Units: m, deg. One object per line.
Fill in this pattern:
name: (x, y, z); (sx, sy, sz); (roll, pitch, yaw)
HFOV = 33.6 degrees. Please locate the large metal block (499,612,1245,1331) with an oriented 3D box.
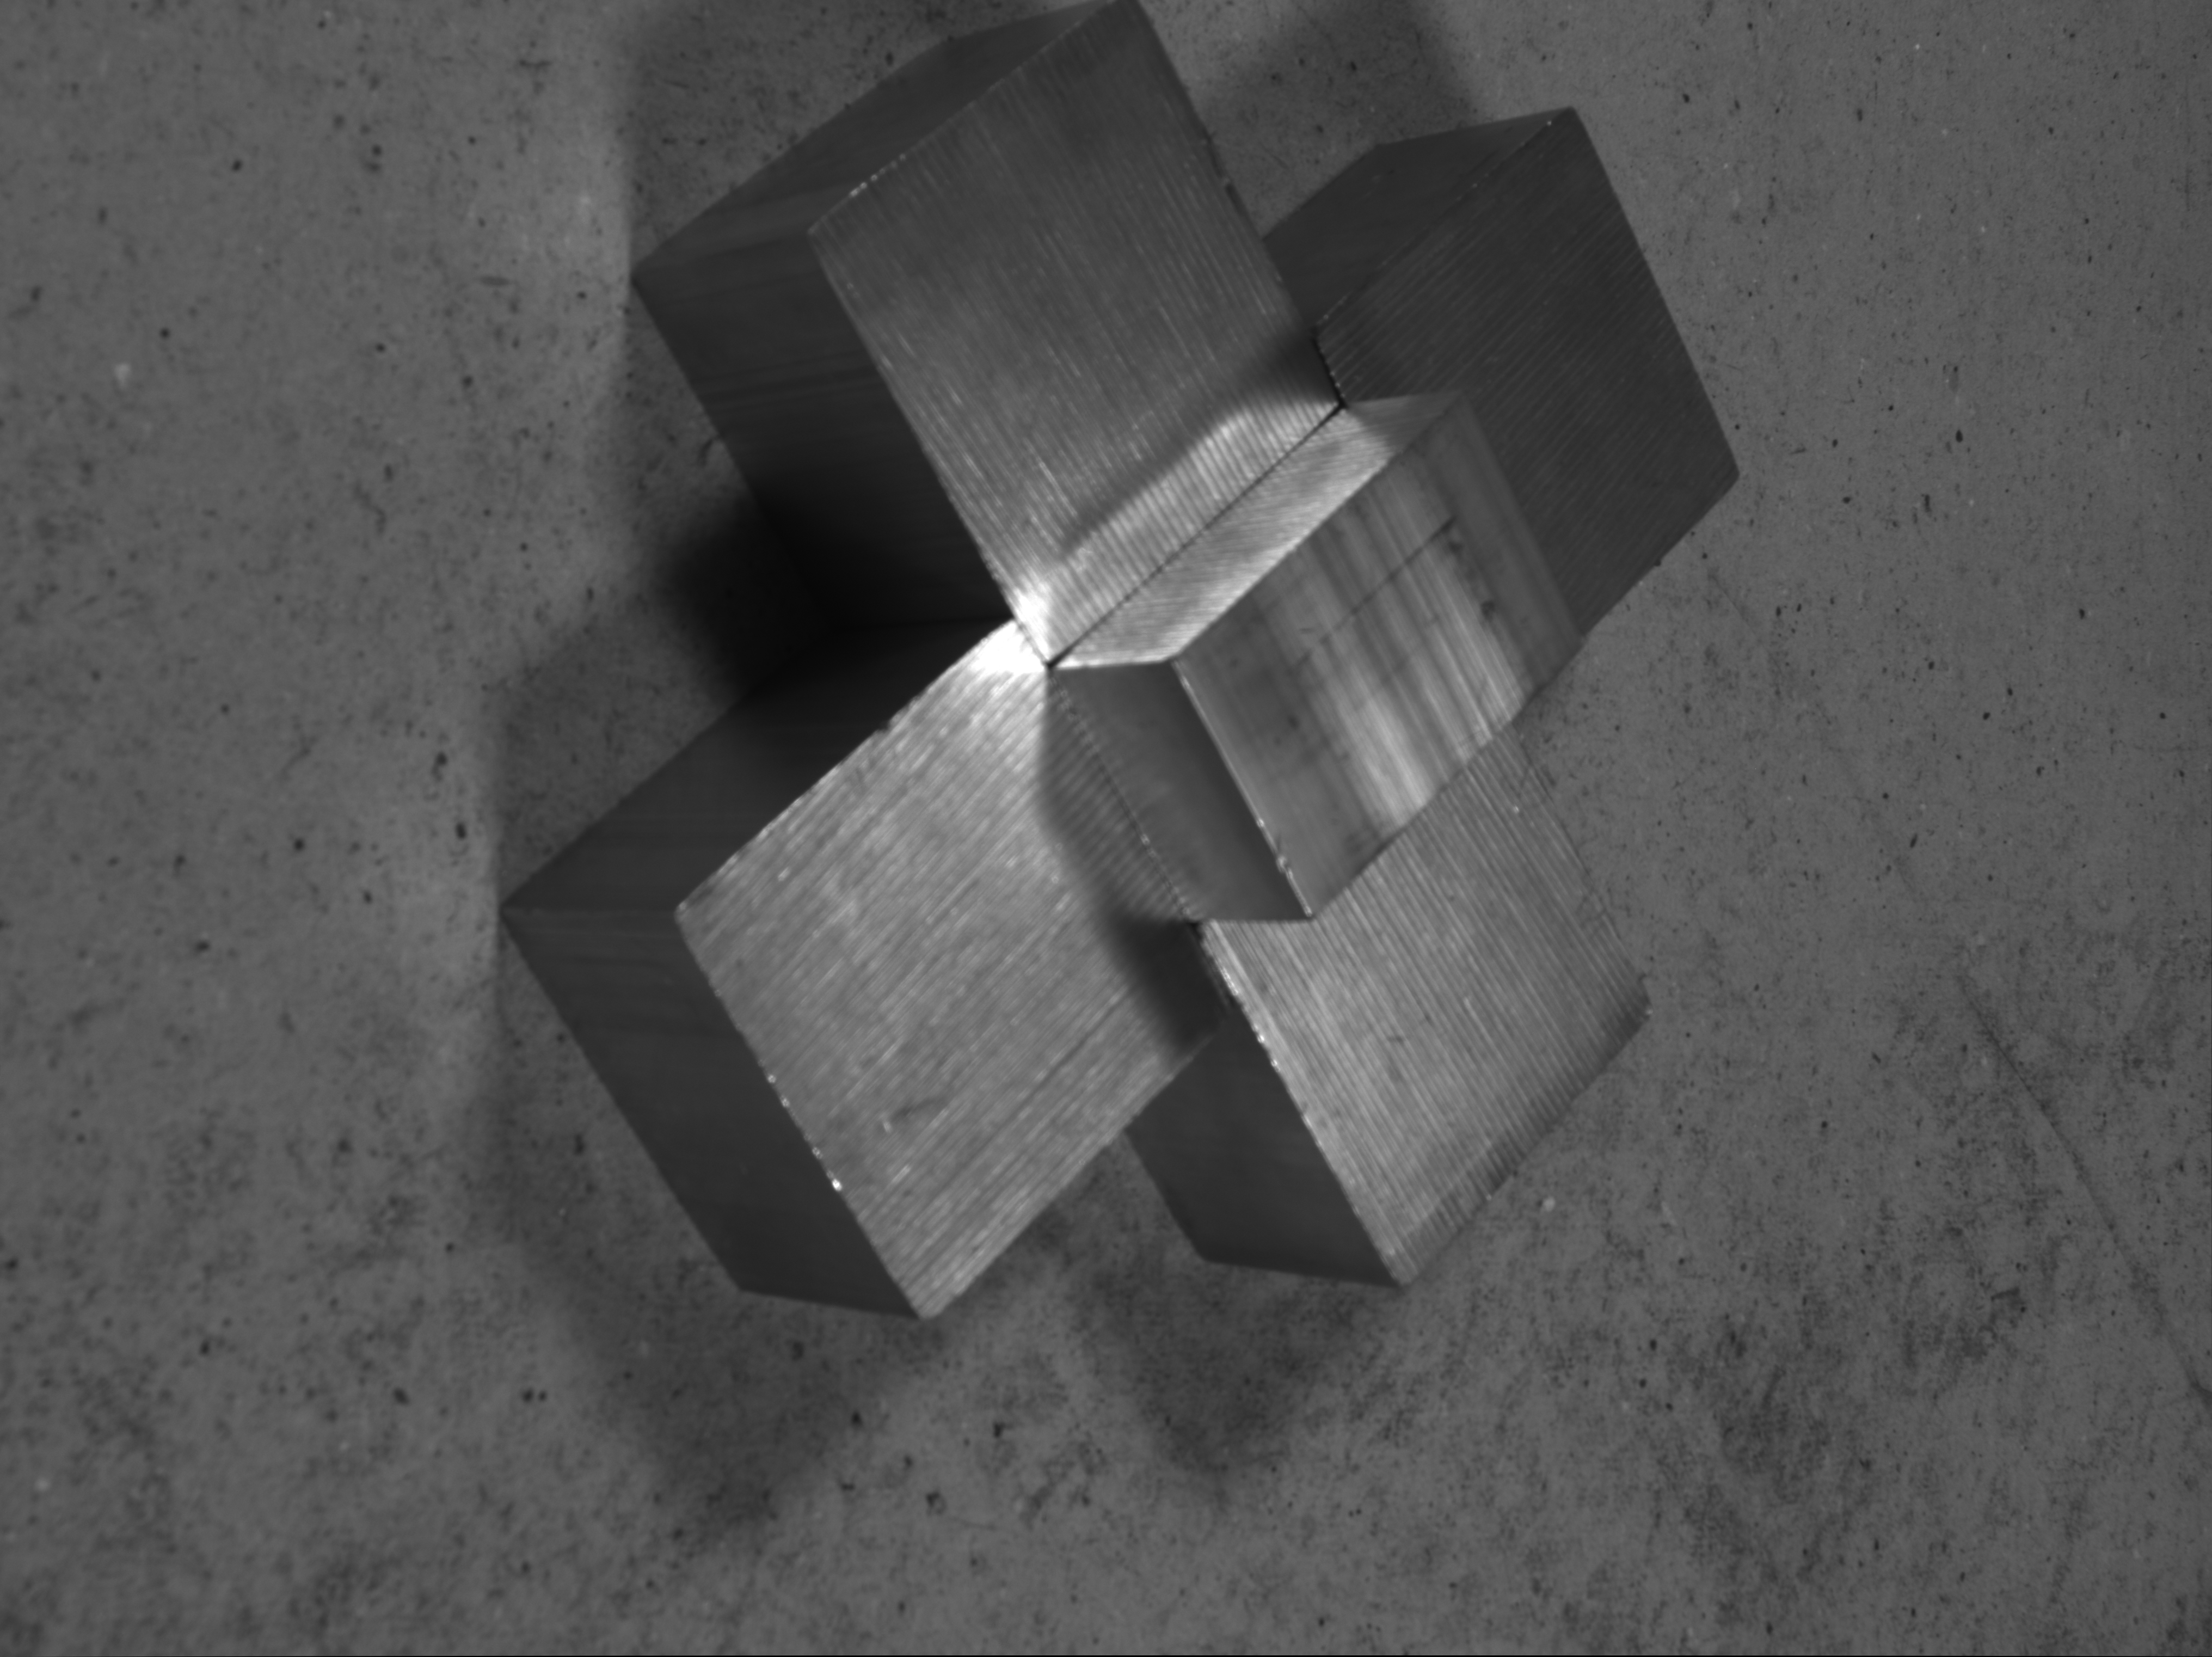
large metal block: (-0.036, 0.022, 0.590); (0.080, 0.050, 0.080); (-44, 116, -31)

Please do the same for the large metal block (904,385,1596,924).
large metal block: (0.021, -0.029, 0.619); (0.080, 0.080, 0.050); (-44, 116, -31)

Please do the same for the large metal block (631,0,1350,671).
large metal block: (-0.017, -0.081, 0.606); (0.080, 0.050, 0.080); (-44, 116, -31)

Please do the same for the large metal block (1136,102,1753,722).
large metal block: (0.063, -0.075, 0.673); (0.080, 0.050, 0.080); (-44, 116, -31)

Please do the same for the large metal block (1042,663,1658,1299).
large metal block: (0.042, 0.025, 0.655); (0.080, 0.050, 0.080); (-44, 116, -31)
